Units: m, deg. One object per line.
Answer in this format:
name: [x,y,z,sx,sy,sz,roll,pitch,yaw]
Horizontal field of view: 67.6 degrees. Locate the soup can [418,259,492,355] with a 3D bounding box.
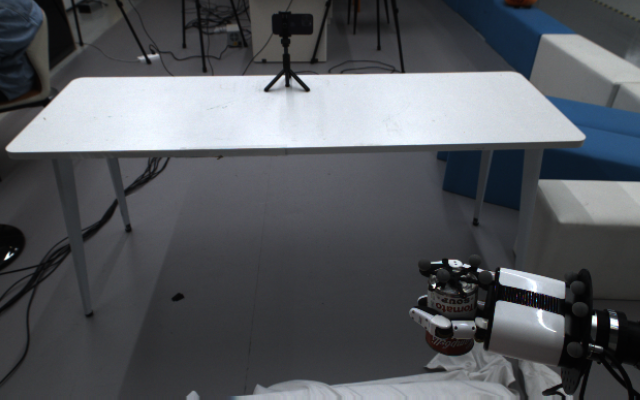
soup can: [0.182,0.151,0.667,0.067,0.101,0.067,-3,25,2]
